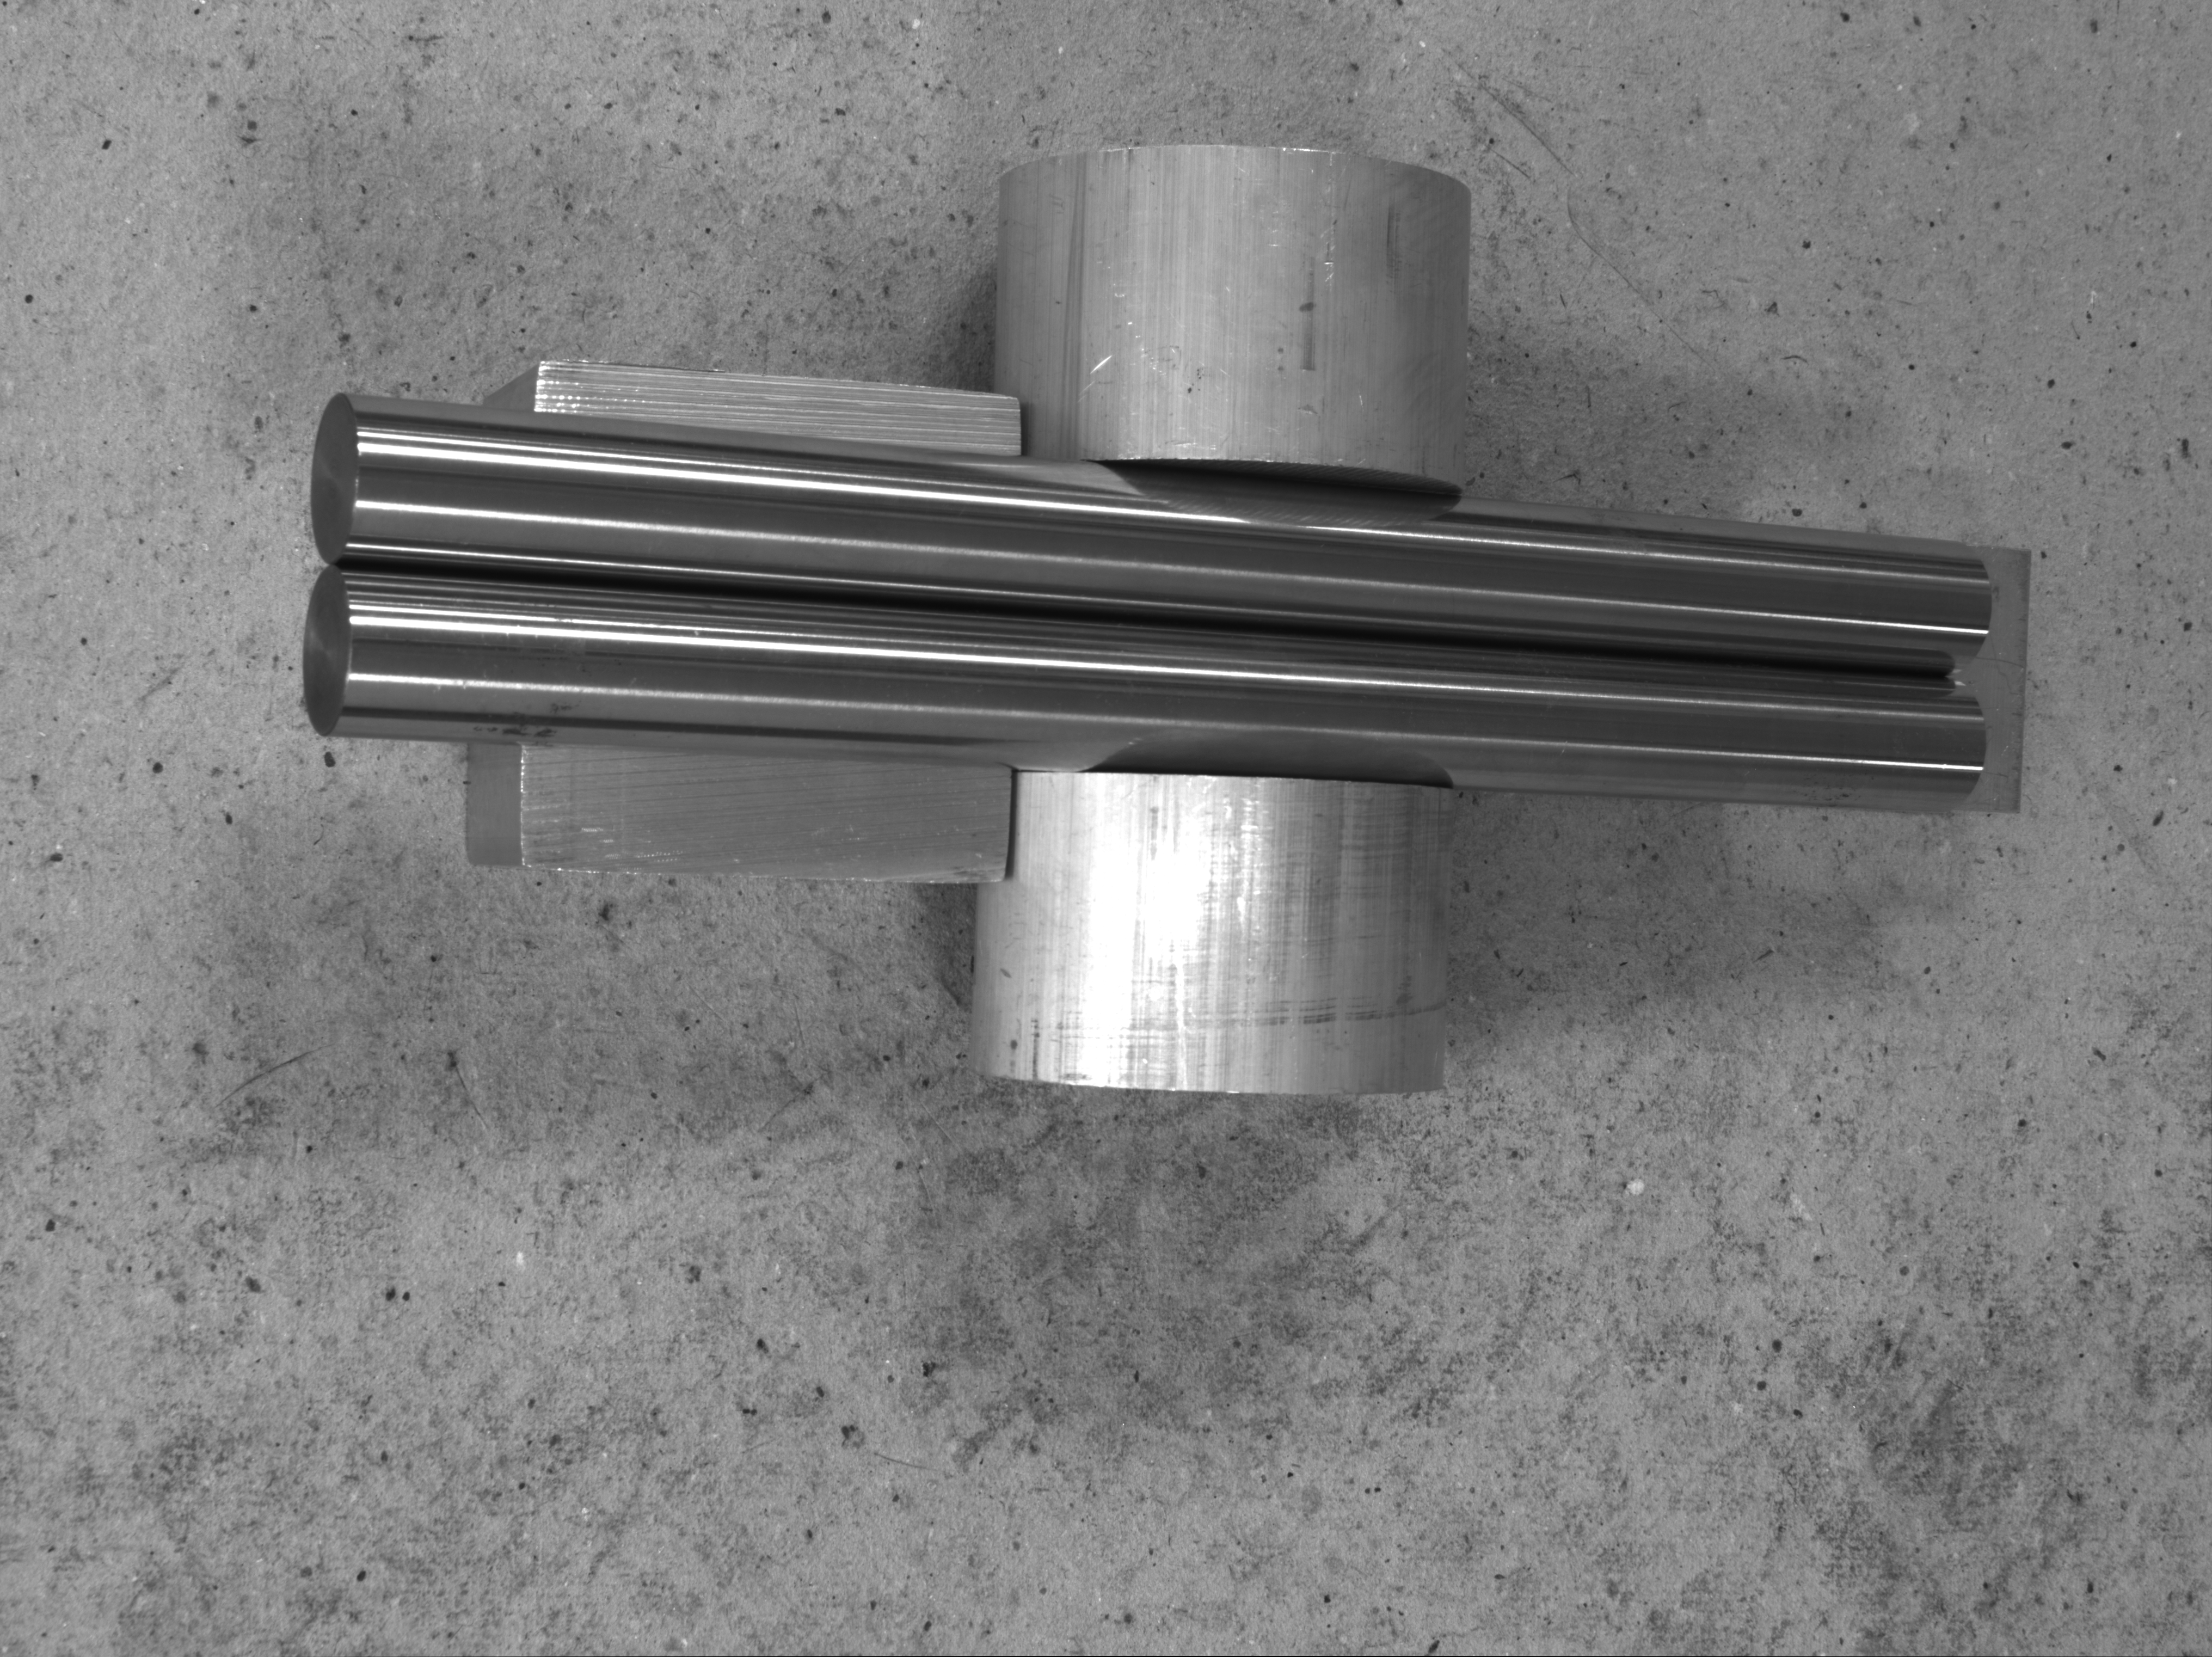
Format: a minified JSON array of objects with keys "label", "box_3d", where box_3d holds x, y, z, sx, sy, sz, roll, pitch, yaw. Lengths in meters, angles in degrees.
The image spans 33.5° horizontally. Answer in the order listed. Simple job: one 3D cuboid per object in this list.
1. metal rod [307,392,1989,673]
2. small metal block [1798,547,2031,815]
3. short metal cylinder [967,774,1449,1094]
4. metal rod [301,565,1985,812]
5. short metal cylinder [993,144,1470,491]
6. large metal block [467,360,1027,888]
[{"label":"metal rod","box_3d":[0.020,-0.046,0.604,0.301,0.025,0.025,2,89,-28]},{"label":"small metal block","box_3d":[0.146,-0.029,0.697,0.050,0.025,0.050,3,89,-19]},{"label":"short metal cylinder","box_3d":[0.017,0.017,0.621,0.080,0.080,0.050,2,89,-20]},{"label":"metal rod","box_3d":[0.020,-0.021,0.603,0.301,0.025,0.025,2,89,-28]},{"label":"short metal cylinder","box_3d":[0.021,-0.083,0.622,0.080,0.080,0.050,2,89,-20]},{"label":"large metal block","box_3d":[-0.060,-0.032,0.609,0.080,0.050,0.080,2,89,-20]}]
